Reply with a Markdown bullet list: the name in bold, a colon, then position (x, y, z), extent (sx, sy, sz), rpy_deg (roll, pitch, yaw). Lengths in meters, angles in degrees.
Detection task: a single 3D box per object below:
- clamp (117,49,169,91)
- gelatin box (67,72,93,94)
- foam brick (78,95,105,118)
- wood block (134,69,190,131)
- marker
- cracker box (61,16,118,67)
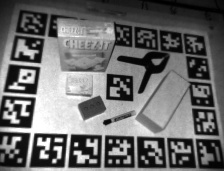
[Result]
- **clamp**: position (0.141, -0.090, 0.832), extent (0.204, 0.036, 0.165), rpy_deg (-27, 81, -18)
- **gelatin box**: position (-0.112, -0.009, 0.759), extent (0.090, 0.030, 0.073), rpy_deg (3, 74, -11)
- **foam brick**: position (-0.072, 0.068, 0.729), extent (0.078, 0.051, 0.052), rpy_deg (-20, 79, -17)
- **wood block**: position (0.180, 0.048, 0.772), extent (0.090, 0.091, 0.207), rpy_deg (37, 67, 5)
- **marker**: position (0.013, 0.108, 0.750), extent (0.122, 0.019, 0.019), rpy_deg (-15, 78, -16)
- **cracker box**: position (-0.079, -0.133, 0.700), extent (0.165, 0.213, 0.072), rpy_deg (1, 71, -13)
